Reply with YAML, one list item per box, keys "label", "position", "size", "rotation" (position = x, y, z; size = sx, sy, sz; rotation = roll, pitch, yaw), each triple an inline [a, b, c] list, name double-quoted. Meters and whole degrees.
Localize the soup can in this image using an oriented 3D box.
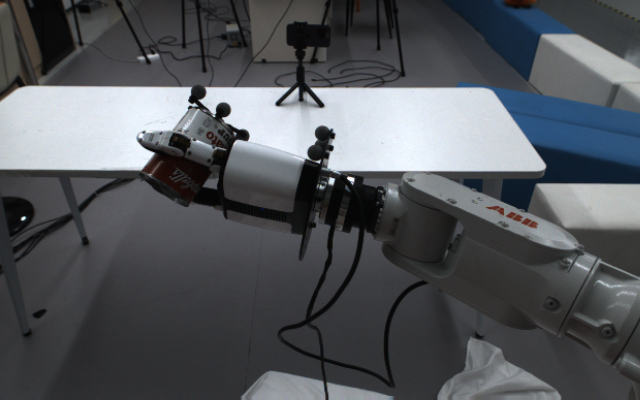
- label: "soup can"
  position: [-0.155, -0.051, 0.574]
  size: [0.067, 0.067, 0.101]
  rotation: [24, 72, 28]
